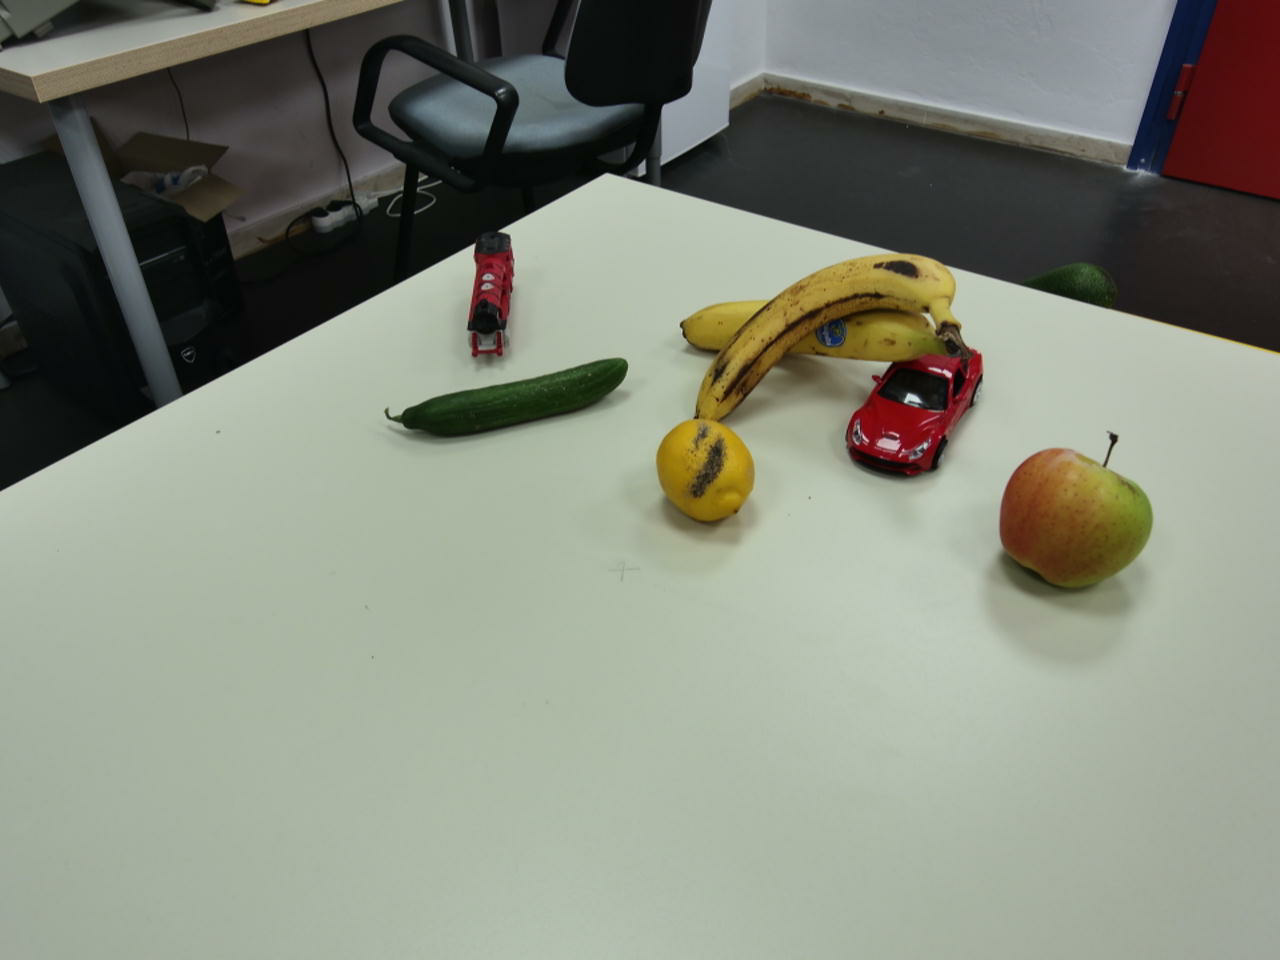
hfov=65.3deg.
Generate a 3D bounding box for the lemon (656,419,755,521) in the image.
[{"bbox_3d":[0.039,-0.006,0.596,0.061,0.056,0.058,19,41,23],"label":"lemon"}]
